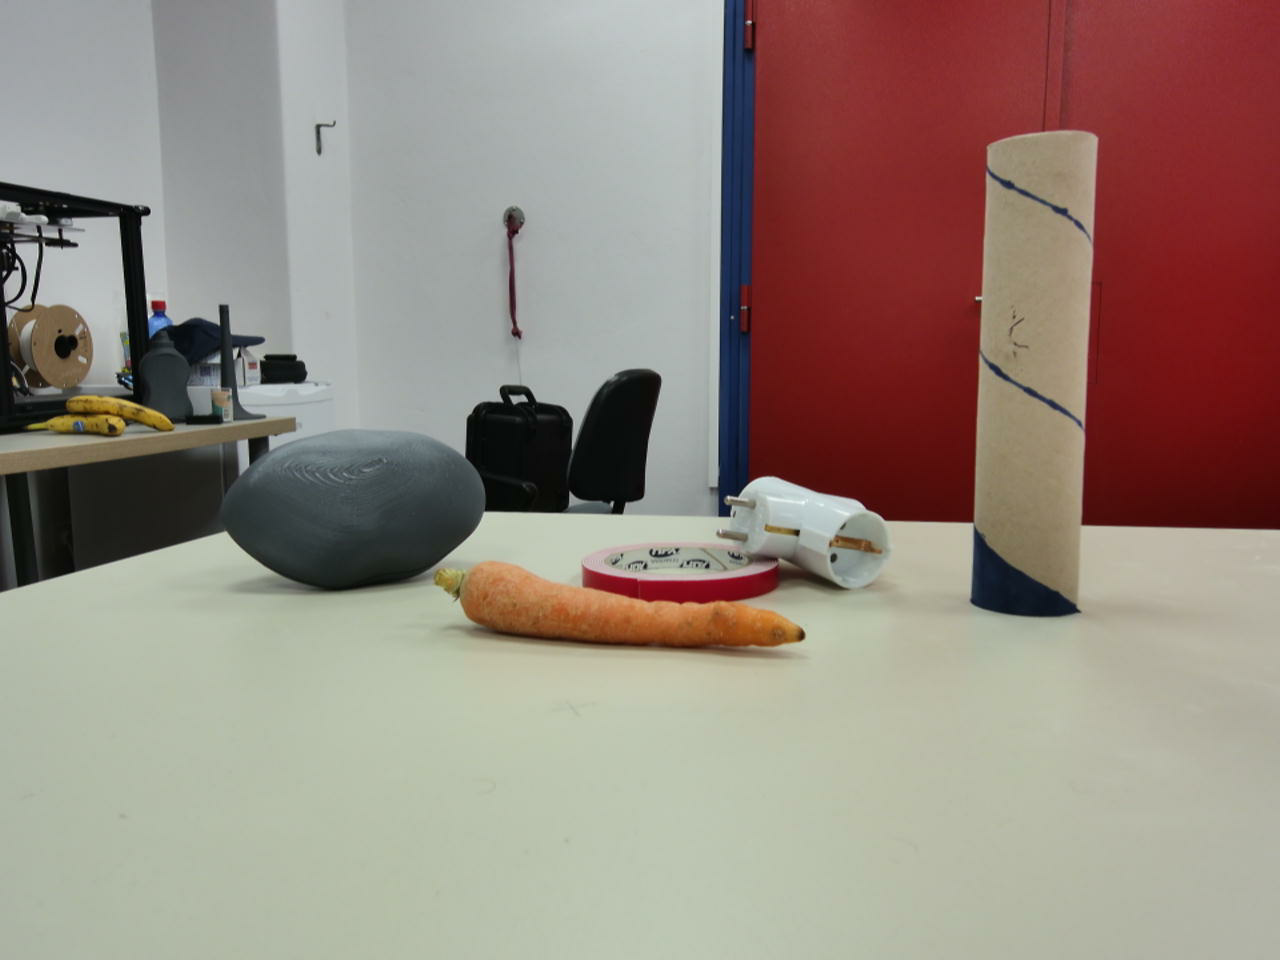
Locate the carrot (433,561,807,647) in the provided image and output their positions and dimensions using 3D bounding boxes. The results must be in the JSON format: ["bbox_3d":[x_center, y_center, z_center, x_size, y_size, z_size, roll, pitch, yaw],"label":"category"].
[{"bbox_3d":[-0.014,0.055,0.437,0.173,0.032,0.030,1,4,22],"label":"carrot"}]
